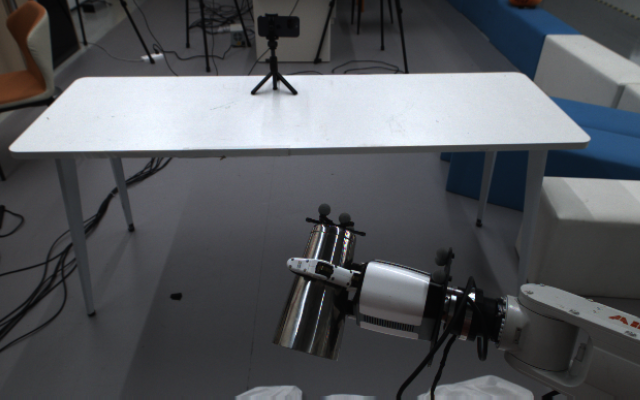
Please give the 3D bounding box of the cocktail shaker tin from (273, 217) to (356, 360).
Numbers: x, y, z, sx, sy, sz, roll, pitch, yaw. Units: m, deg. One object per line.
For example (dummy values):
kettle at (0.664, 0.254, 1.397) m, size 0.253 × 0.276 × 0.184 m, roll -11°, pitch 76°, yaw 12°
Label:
cocktail shaker tin at (0.002, 0.125, 0.668) m, size 0.093 × 0.093 × 0.170 m, roll 11°, pitch 72°, yaw 12°
